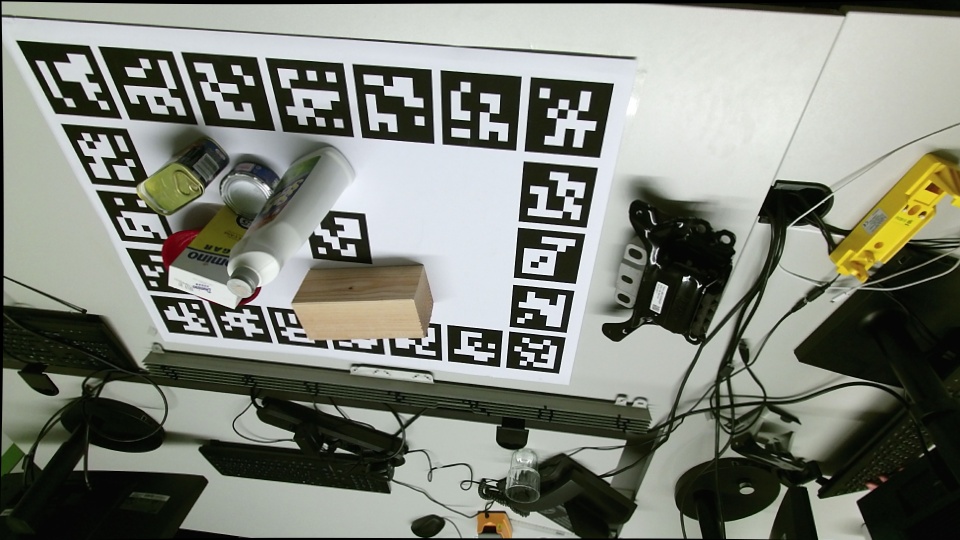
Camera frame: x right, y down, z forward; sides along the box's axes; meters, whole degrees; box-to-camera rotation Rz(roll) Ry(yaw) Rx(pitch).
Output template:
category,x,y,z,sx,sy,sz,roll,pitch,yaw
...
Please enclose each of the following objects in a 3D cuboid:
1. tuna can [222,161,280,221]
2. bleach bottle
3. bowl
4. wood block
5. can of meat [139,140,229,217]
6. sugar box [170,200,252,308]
category,x,y,z,sx,sy,sz,roll,pitch,yaw
tuna can,-0.337,-0.118,0.800,0.086,0.033,0.086,3,126,4
bleach bottle,-0.248,-0.064,0.698,0.103,0.249,0.068,-17,126,19
bowl,-0.443,-0.010,0.892,0.162,0.055,0.162,1,130,2
wood block,-0.187,0.055,0.892,0.207,0.089,0.091,-2,124,11
can of meat,-0.424,-0.133,0.776,0.102,0.083,0.058,-20,127,24
sugar box,-0.368,-0.028,0.786,0.093,0.175,0.045,19,126,-12
